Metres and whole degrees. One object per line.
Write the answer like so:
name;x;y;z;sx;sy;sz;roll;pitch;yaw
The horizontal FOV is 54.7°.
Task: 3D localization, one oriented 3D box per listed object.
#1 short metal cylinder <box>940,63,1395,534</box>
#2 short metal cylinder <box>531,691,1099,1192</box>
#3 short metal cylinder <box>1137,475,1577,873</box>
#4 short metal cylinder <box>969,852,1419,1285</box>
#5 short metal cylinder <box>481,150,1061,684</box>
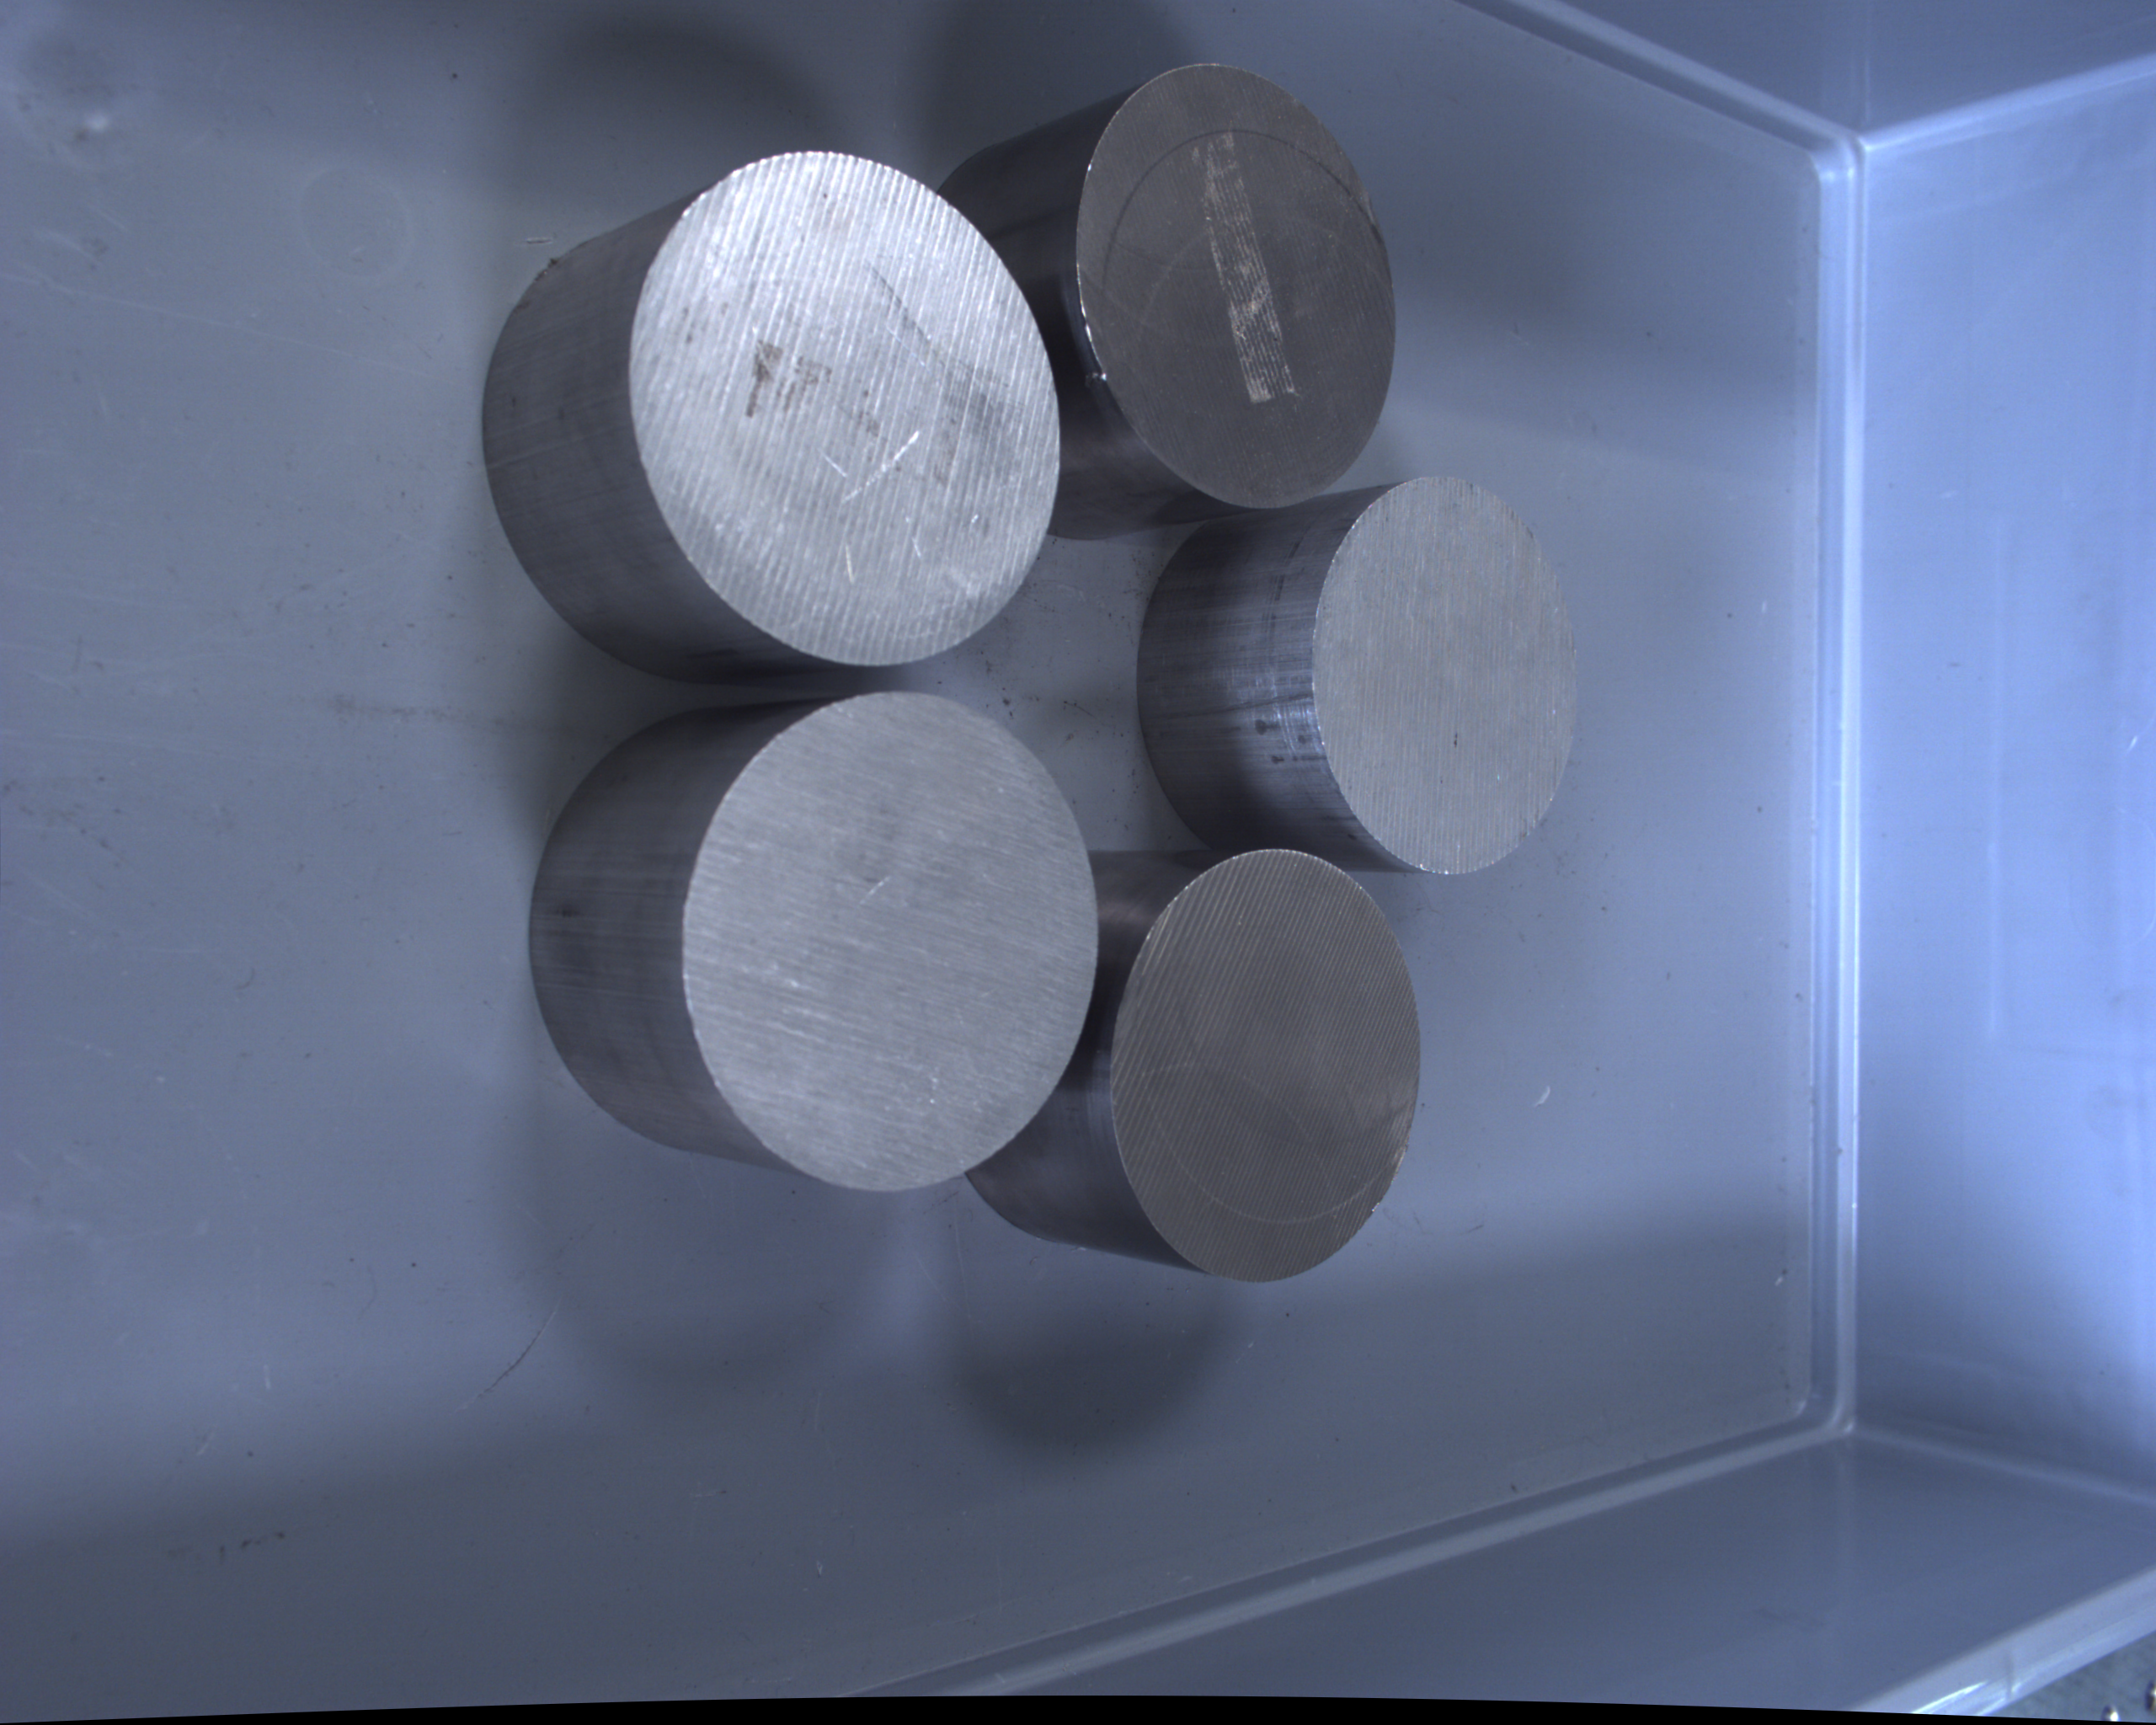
short metal cylinder;0.015;-0.105;0.399;0.081;0.050;0.080;0;90;-40
short metal cylinder;-0.043;0.012;0.351;0.081;0.050;0.080;0;90;-40
short metal cylinder;0.059;-0.038;0.437;0.081;0.050;0.080;0;90;-40
short metal cylinder;0.020;0.038;0.405;0.081;0.050;0.080;0;90;-40
short metal cylinder;-0.050;-0.071;0.346;0.081;0.050;0.080;0;90;-40
